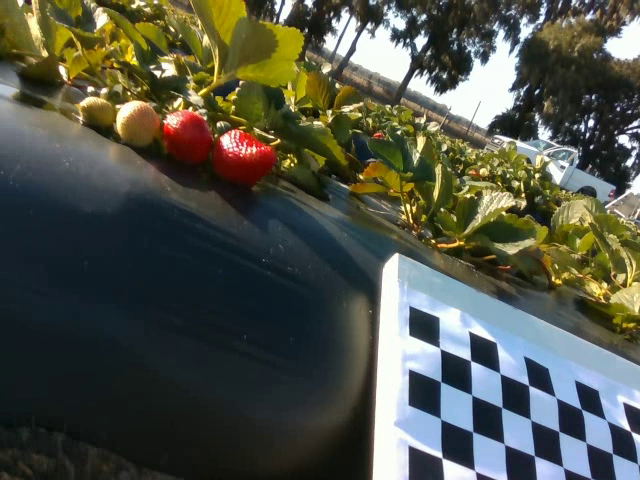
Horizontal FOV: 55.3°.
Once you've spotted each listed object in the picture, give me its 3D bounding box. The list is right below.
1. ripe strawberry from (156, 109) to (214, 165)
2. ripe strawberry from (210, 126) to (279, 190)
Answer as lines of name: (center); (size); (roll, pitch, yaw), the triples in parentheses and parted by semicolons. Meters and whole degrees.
ripe strawberry: (-0.104, -0.083, 0.466); (0.050, 0.044, 0.061); (44, 1, -1)
ripe strawberry: (-0.054, -0.065, 0.478); (0.067, 0.052, 0.056); (4, 21, 44)
